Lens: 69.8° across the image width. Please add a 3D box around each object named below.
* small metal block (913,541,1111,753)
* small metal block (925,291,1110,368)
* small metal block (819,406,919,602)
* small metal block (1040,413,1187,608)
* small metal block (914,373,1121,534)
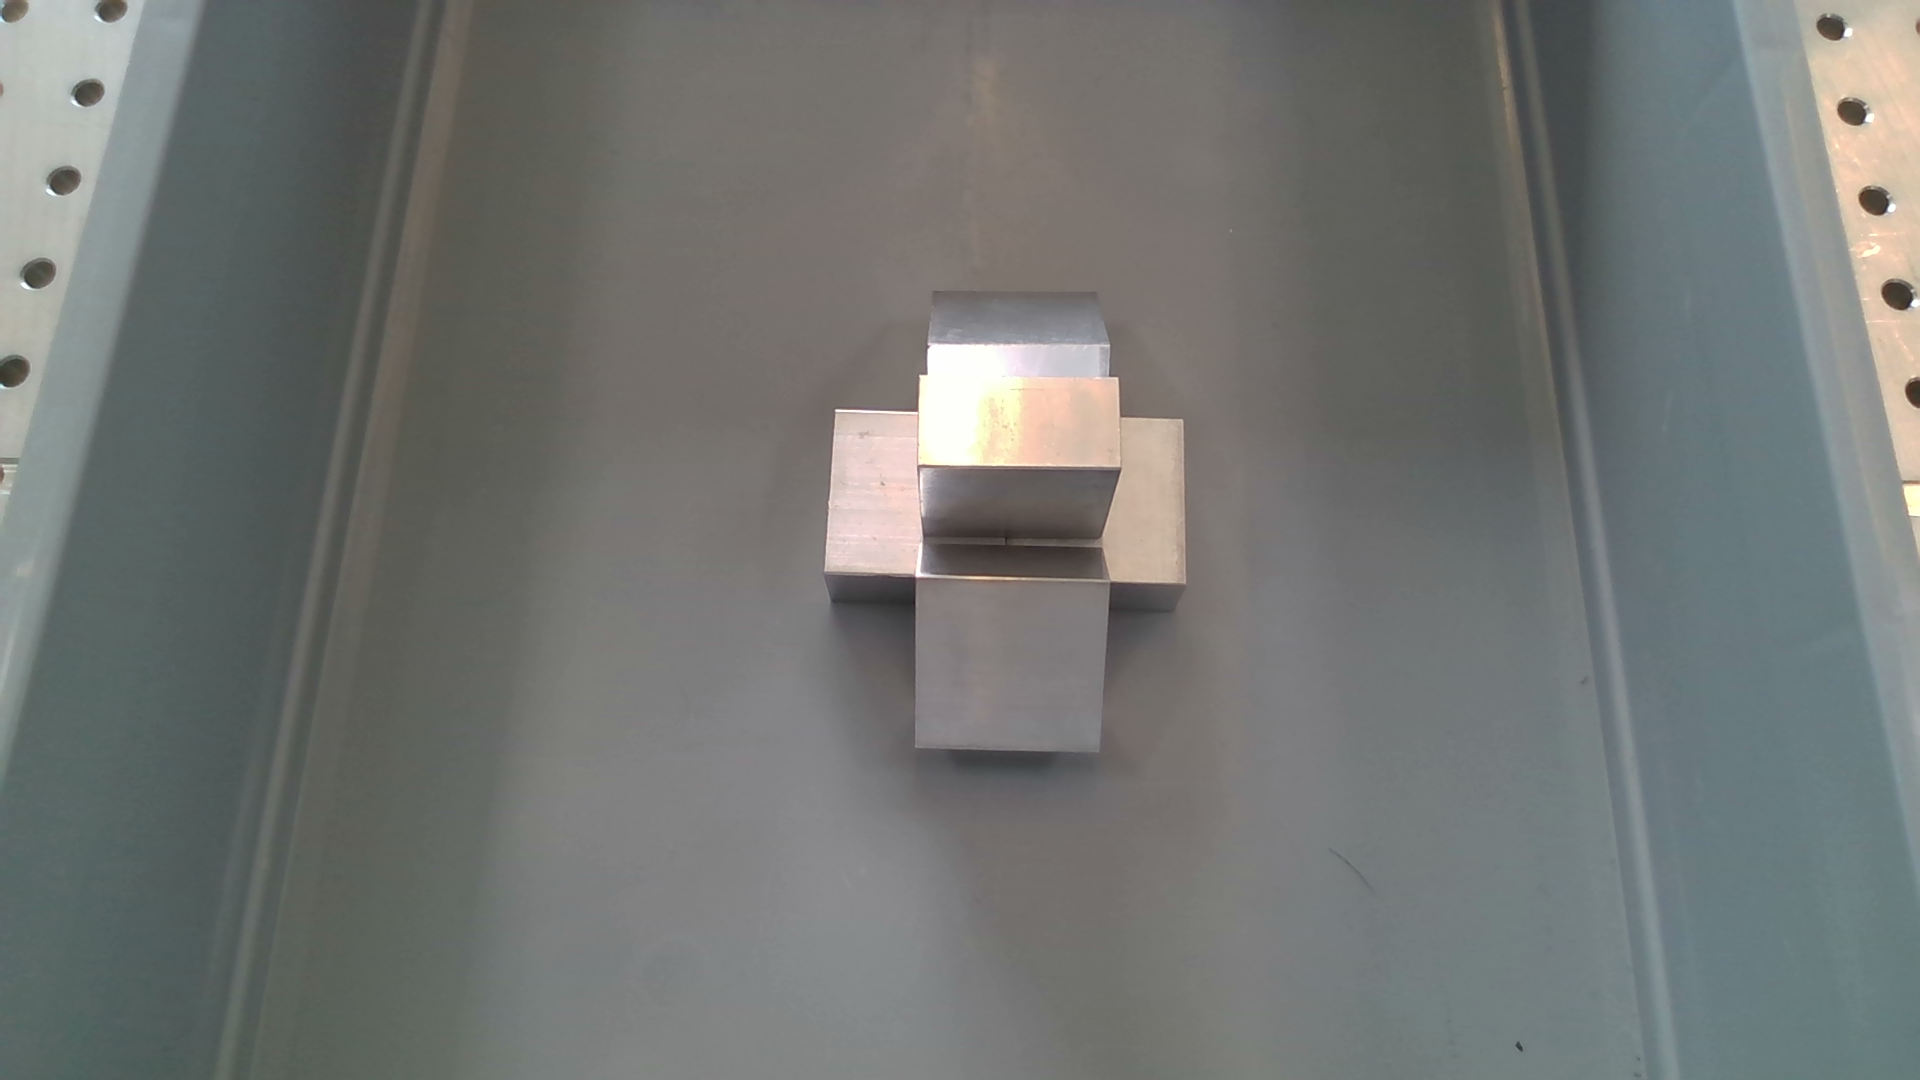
[{"bbox_3d":[0.013,0.029,0.371,0.050,0.025,0.050,2,110,1],"label":"small metal block"},{"bbox_3d":[0.016,-0.053,0.399,0.050,0.025,0.050,1,27,0],"label":"small metal block"},{"bbox_3d":[-0.013,-0.010,0.397,0.050,0.025,0.050,2,70,1],"label":"small metal block"},{"bbox_3d":[0.038,-0.009,0.397,0.050,0.025,0.050,2,71,1],"label":"small metal block"},{"bbox_3d":[0.014,-0.021,0.361,0.050,0.050,0.025,0,71,0],"label":"small metal block"}]
